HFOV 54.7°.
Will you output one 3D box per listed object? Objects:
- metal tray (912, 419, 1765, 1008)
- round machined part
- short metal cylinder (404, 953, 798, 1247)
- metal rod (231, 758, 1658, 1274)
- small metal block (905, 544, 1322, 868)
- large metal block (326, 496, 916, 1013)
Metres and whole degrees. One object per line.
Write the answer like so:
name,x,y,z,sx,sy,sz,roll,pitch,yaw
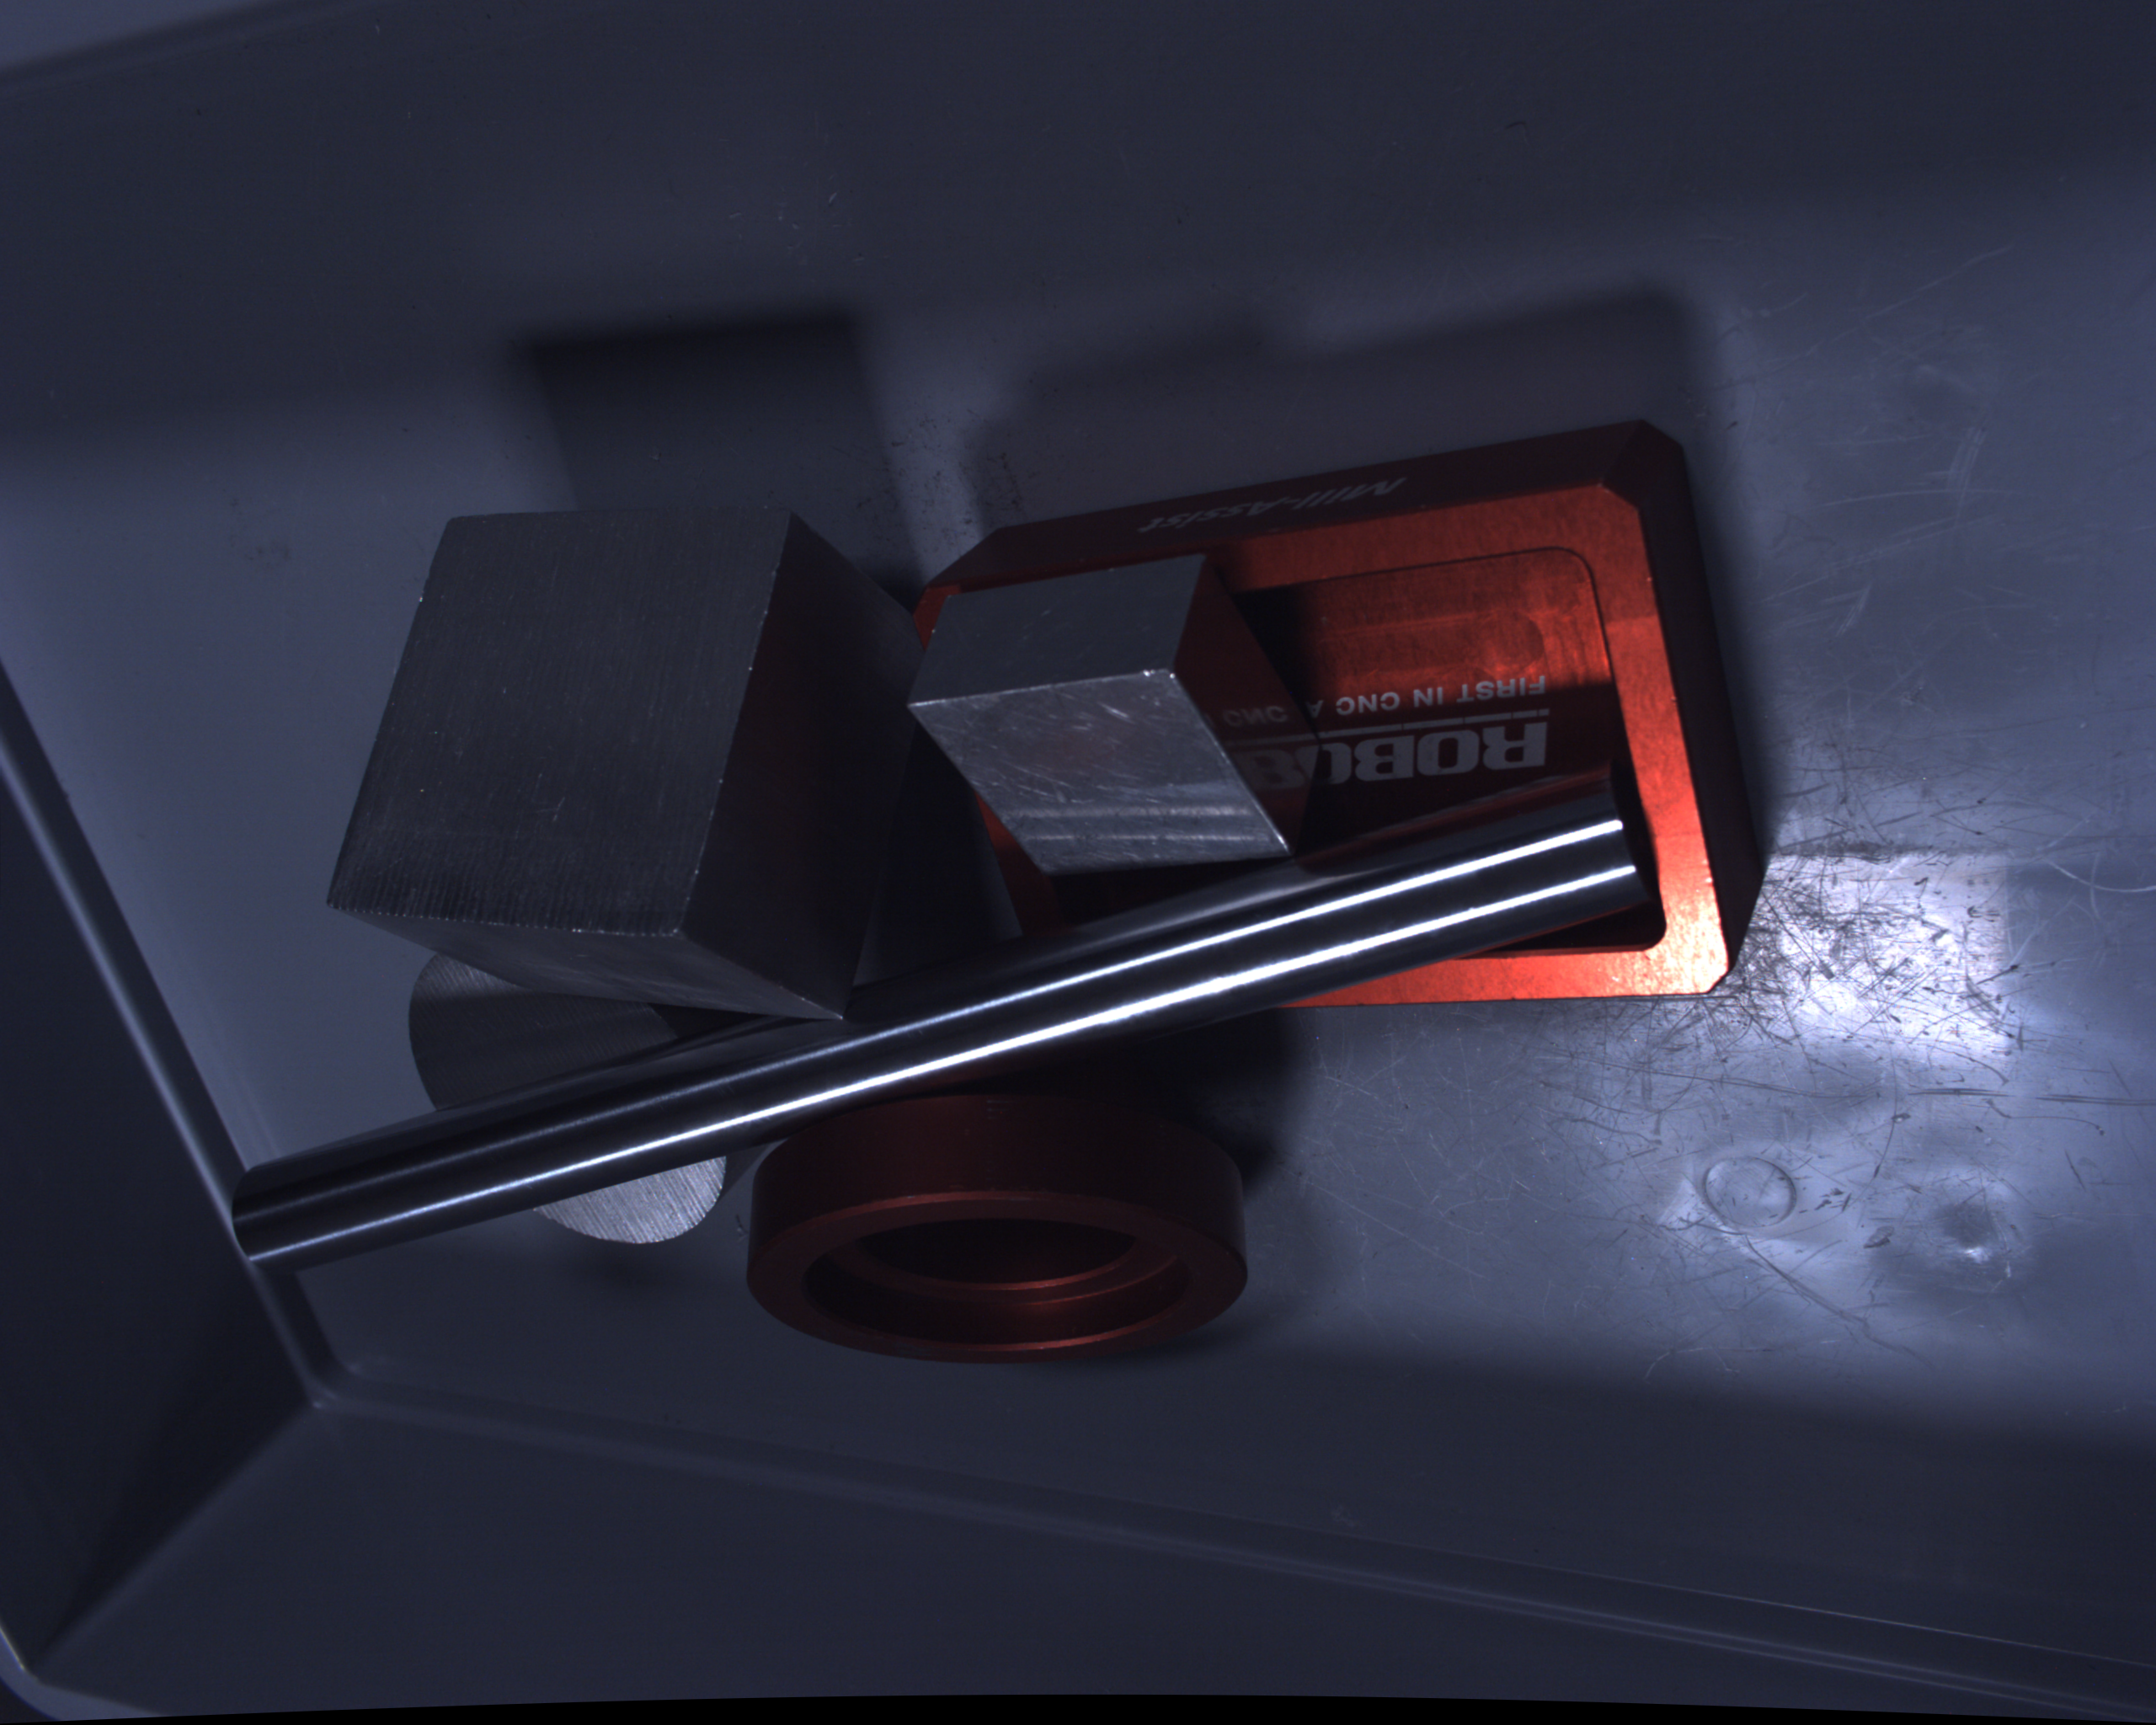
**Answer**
metal tray,0.044,-0.020,0.366,0.130,0.030,0.090,-5,116,30
round machined part,-0.016,0.067,0.423,0.099,0.042,0.098,0,149,0
short metal cylinder,-0.100,0.038,0.464,0.080,0.050,0.079,13,124,20
metal rod,-0.042,0.036,0.396,0.300,0.025,0.025,-17,110,23
small metal block,0.007,-0.025,0.358,0.050,0.025,0.050,-5,143,30
large metal block,-0.081,-0.020,0.390,0.080,0.080,0.050,4,162,27
